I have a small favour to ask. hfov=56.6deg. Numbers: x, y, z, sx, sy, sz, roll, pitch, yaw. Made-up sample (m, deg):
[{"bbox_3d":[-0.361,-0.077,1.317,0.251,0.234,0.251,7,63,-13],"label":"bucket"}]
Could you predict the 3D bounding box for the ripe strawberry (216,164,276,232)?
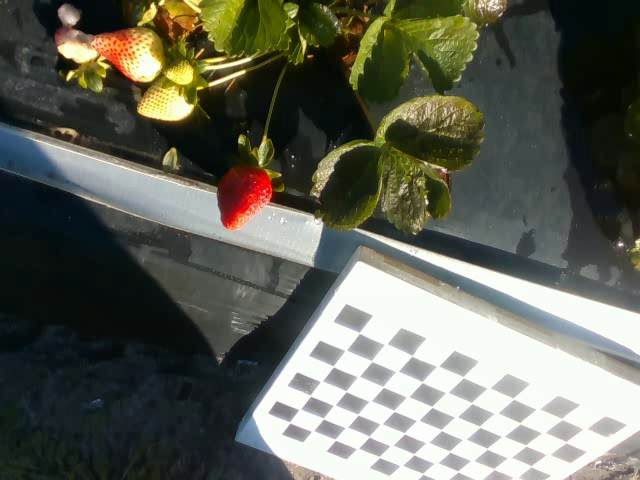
[{"bbox_3d":[-0.046,-0.023,0.327,0.036,0.046,0.038,25,-38,-5],"label":"ripe strawberry"}]
